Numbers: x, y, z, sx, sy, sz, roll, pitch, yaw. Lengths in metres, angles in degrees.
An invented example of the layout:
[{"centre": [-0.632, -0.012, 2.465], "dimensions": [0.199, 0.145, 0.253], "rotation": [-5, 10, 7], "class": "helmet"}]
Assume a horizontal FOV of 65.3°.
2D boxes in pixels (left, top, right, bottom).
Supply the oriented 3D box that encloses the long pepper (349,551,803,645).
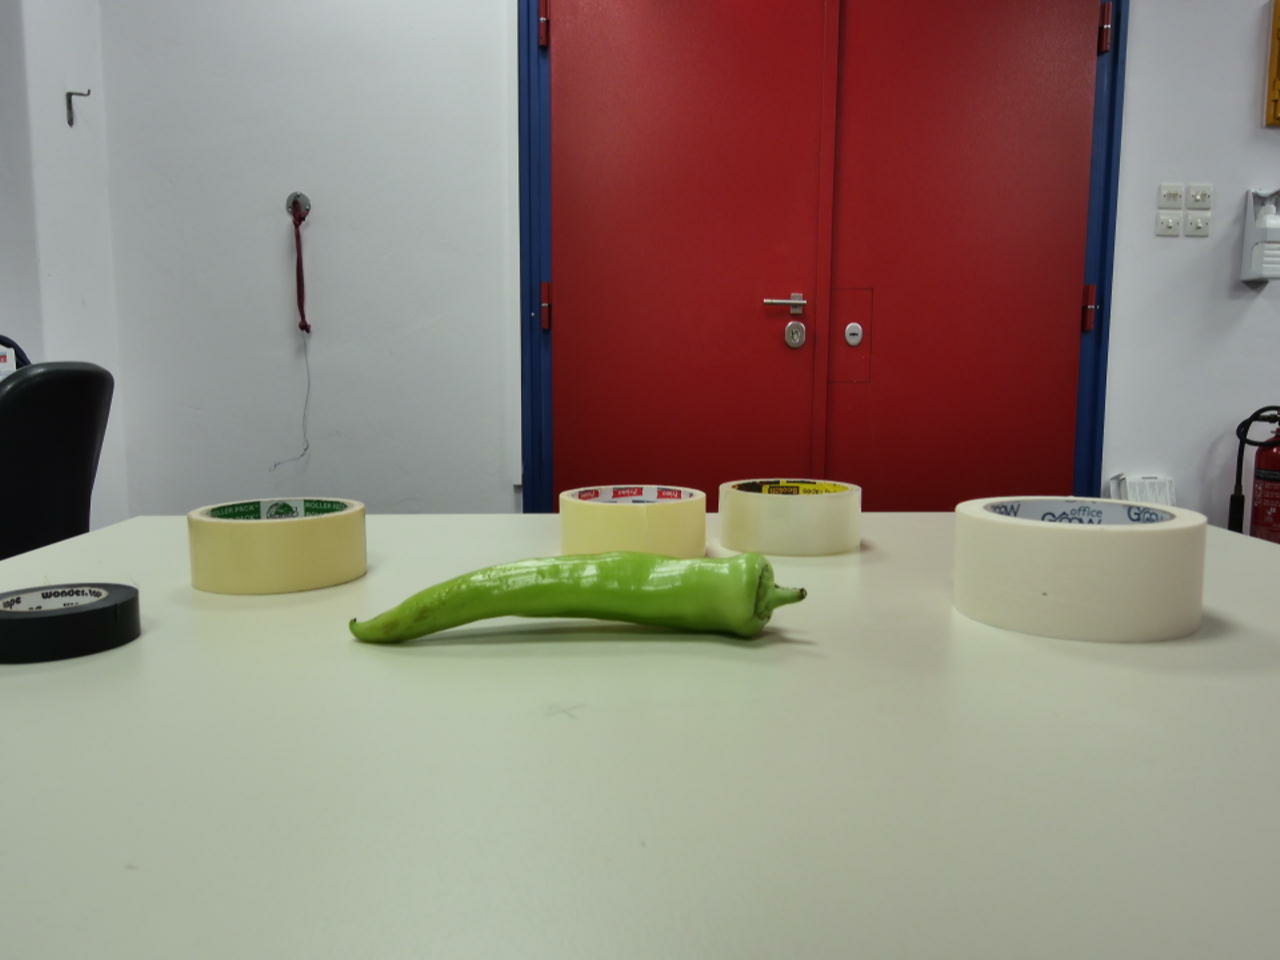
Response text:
[{"centre": [-0.028, 0.050, 0.441], "dimensions": [0.197, 0.038, 0.047], "rotation": [0, 4, 2], "class": "long pepper"}]
